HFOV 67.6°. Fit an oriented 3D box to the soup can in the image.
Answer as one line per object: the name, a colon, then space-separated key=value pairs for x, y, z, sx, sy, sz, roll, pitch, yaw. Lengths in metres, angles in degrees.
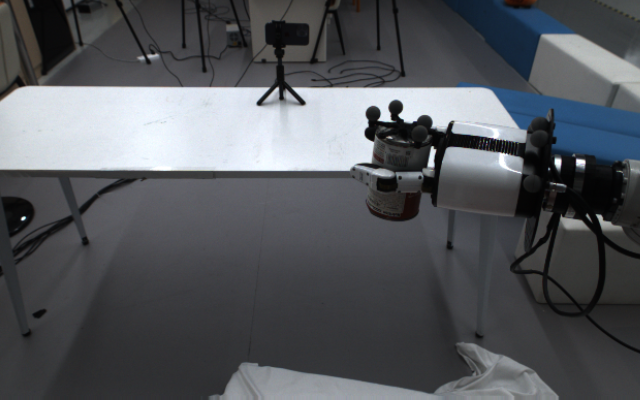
soup can: x=0.095 y=-0.035 z=0.586 sx=0.067 sy=0.101 sz=0.067 roll=4 pitch=30 yaw=-2
